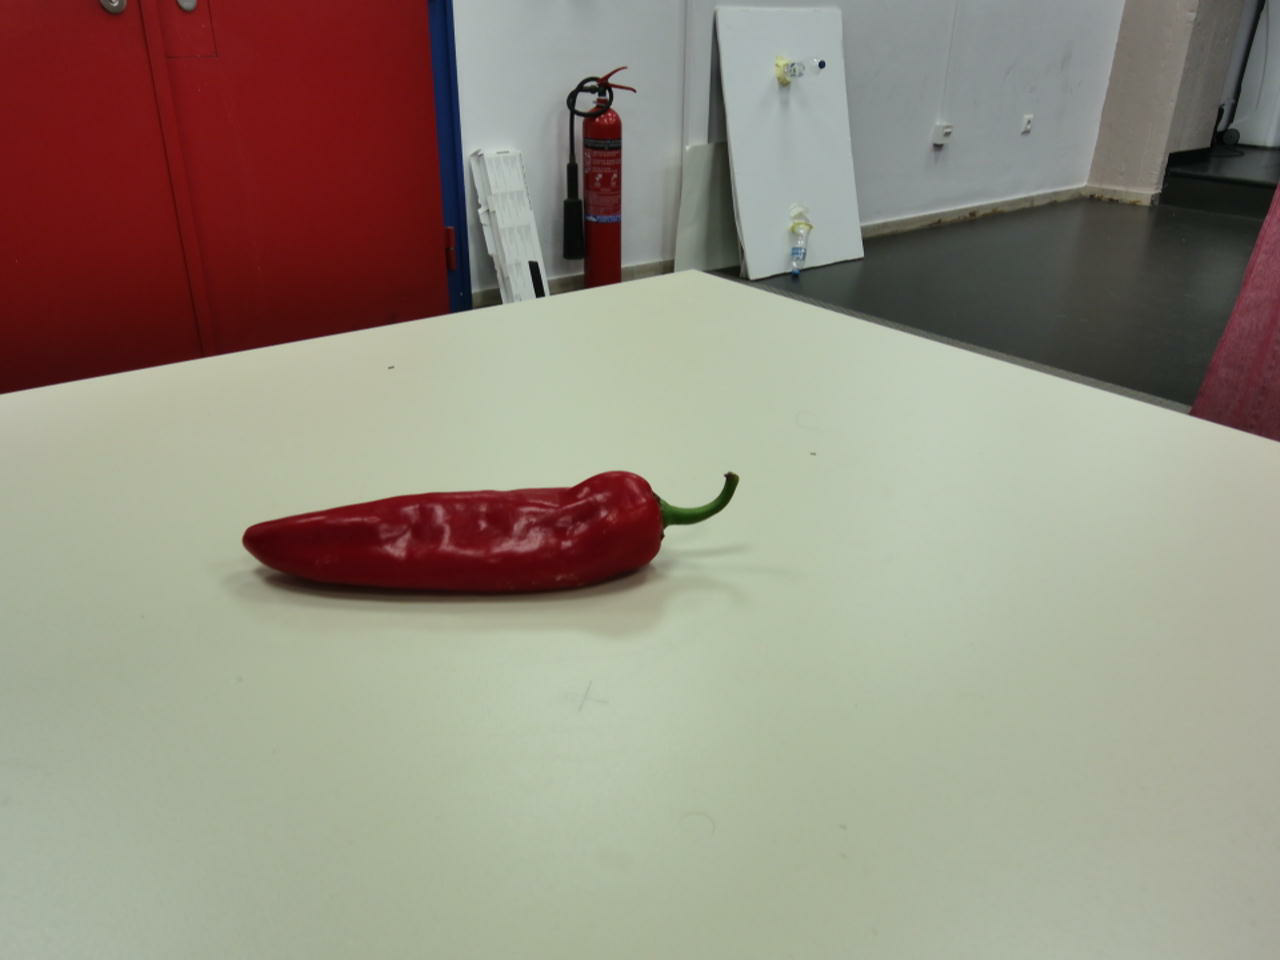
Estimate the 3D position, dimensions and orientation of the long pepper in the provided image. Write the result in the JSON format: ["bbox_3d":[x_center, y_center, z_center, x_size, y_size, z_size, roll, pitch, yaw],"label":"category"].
[{"bbox_3d":[-0.060,0.022,0.420,0.211,0.043,0.050,-3,24,-6],"label":"long pepper"}]
